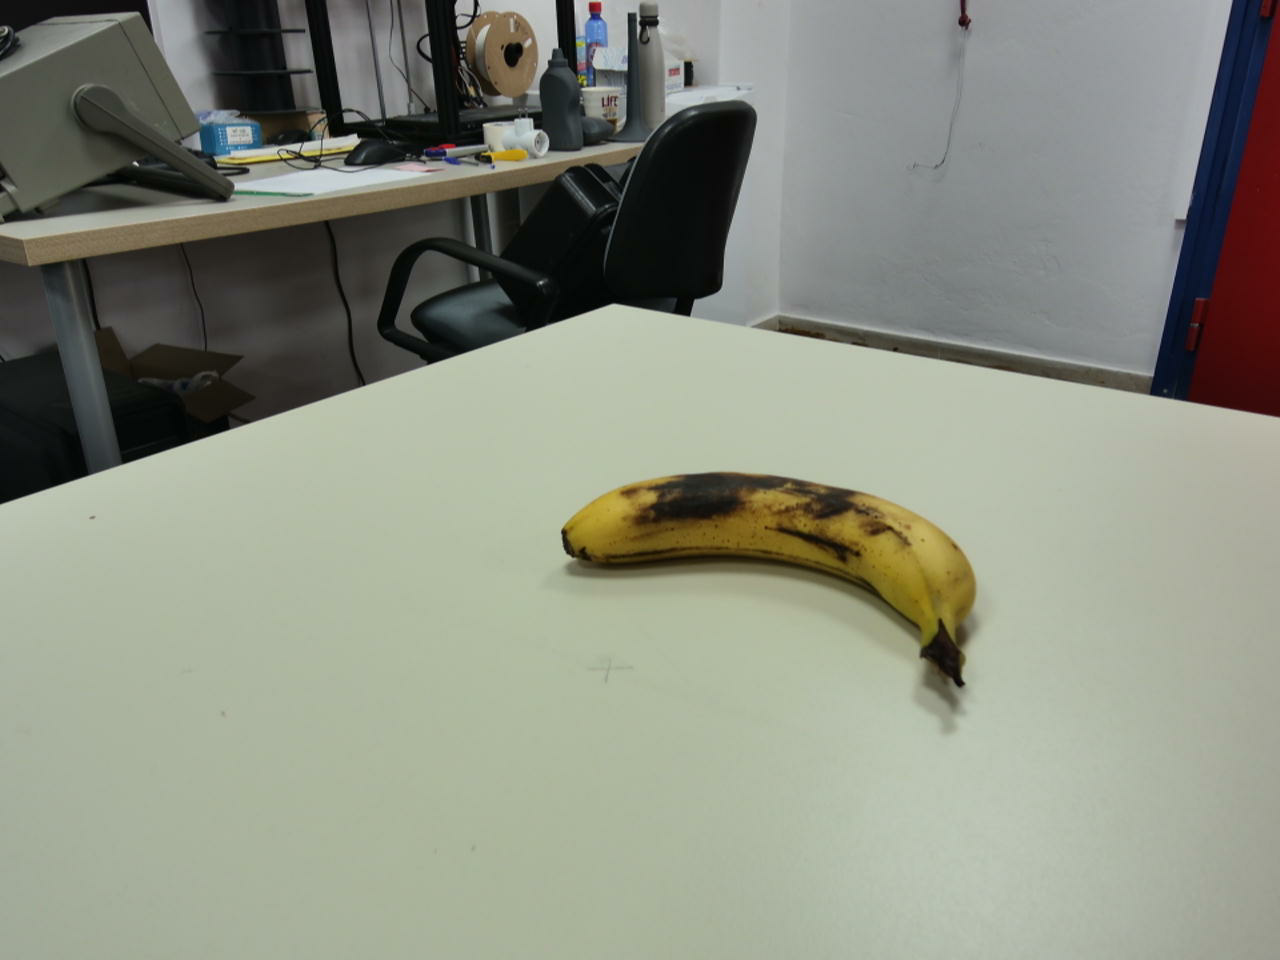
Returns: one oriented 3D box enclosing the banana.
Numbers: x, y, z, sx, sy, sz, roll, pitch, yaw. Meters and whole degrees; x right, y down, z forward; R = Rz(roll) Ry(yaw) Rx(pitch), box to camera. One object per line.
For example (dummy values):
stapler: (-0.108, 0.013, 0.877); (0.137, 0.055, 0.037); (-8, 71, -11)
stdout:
banana: (0.063, 0.029, 0.432); (0.187, 0.039, 0.094); (16, 27, 34)
